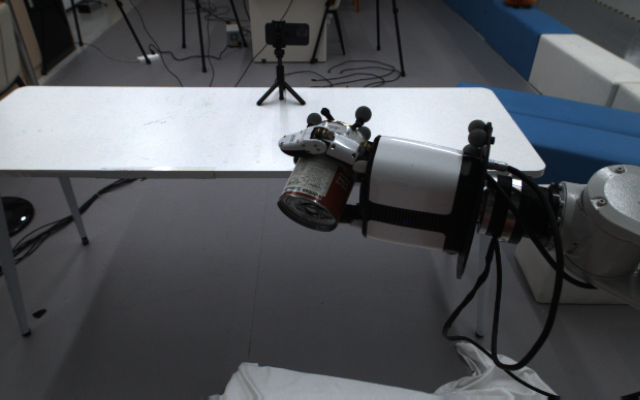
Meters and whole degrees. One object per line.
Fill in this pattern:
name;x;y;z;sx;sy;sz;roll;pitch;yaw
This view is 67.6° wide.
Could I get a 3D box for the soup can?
soup can;0.007;-0.027;0.521;0.067;0.067;0.101;15;63;18
